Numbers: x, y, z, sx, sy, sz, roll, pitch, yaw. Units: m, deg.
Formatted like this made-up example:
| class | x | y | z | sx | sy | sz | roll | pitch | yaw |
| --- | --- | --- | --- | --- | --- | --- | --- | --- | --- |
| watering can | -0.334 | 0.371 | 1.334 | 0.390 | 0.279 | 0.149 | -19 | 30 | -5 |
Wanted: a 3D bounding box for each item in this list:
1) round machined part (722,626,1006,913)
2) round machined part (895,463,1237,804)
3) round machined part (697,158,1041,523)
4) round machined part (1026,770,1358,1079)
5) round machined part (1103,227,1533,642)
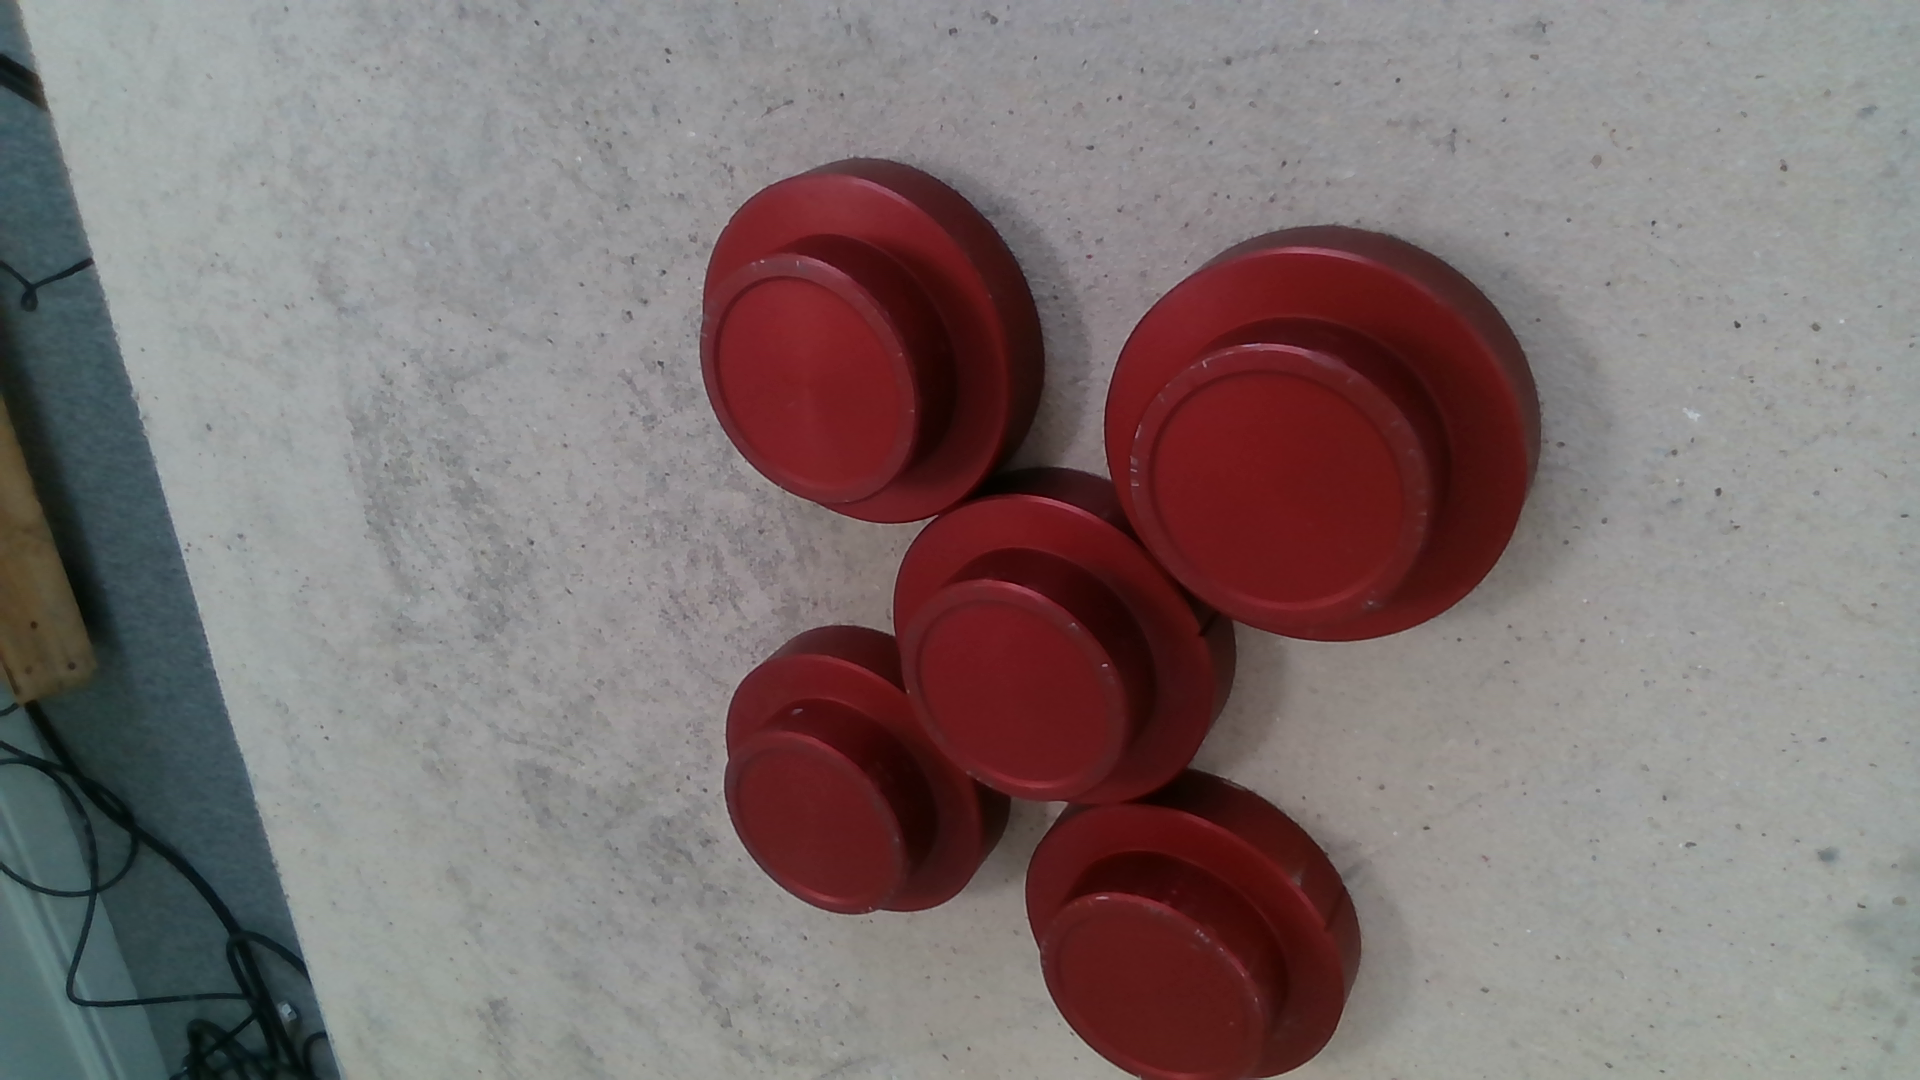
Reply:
| class | x | y | z | sx | sy | sz | roll | pitch | yaw |
| --- | --- | --- | --- | --- | --- | --- | --- | --- | --- |
| round machined part | -0.037 | 0.080 | 0.445 | 0.098 | 0.042 | 0.098 | 15 | 121 | 26 |
| round machined part | 0.023 | 0.032 | 0.381 | 0.098 | 0.042 | 0.098 | 15 | 121 | 26 |
| round machined part | -0.031 | -0.049 | 0.370 | 0.098 | 0.042 | 0.098 | 15 | 122 | 25 |
| round machined part | 0.062 | 0.120 | 0.405 | 0.098 | 0.042 | 0.098 | 15 | 121 | 26 |
| round machined part | 0.078 | -0.019 | 0.320 | 0.098 | 0.042 | 0.098 | 15 | 122 | 25 |
